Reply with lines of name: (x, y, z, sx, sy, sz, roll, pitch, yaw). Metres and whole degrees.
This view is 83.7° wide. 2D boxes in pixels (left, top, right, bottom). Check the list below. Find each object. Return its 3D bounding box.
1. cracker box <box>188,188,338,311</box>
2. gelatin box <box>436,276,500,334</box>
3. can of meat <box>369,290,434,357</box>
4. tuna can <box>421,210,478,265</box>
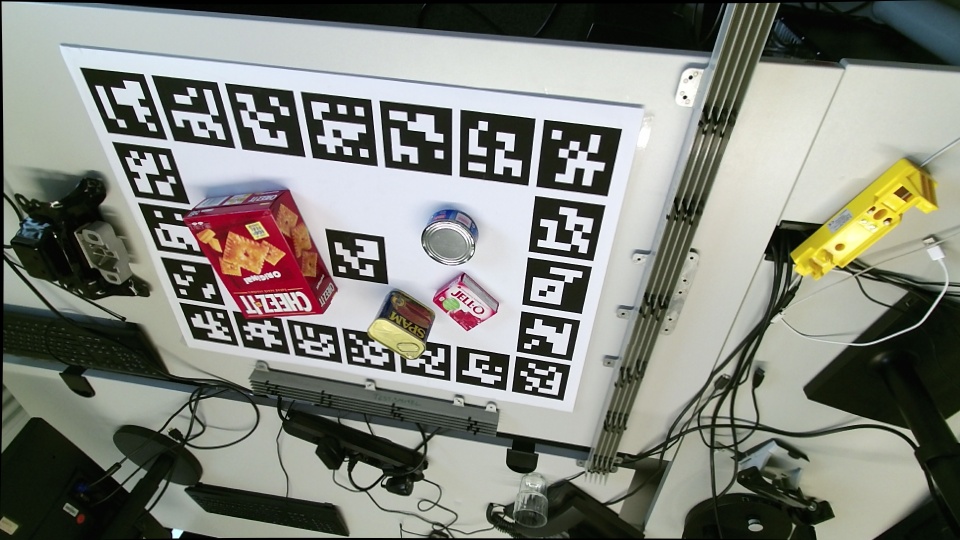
cracker box: (-0.371, -0.027, 0.929, 0.165, 0.072, 0.214, -4, 127, 17)
gelatin box: (-0.021, 0.063, 0.939, 0.089, 0.030, 0.073, 44, 127, -17)
can of meat: (-0.138, 0.094, 0.965, 0.102, 0.083, 0.058, 32, 127, -13)
tuna can: (-0.047, -0.051, 0.851, 0.086, 0.033, 0.086, 5, 125, 7)
